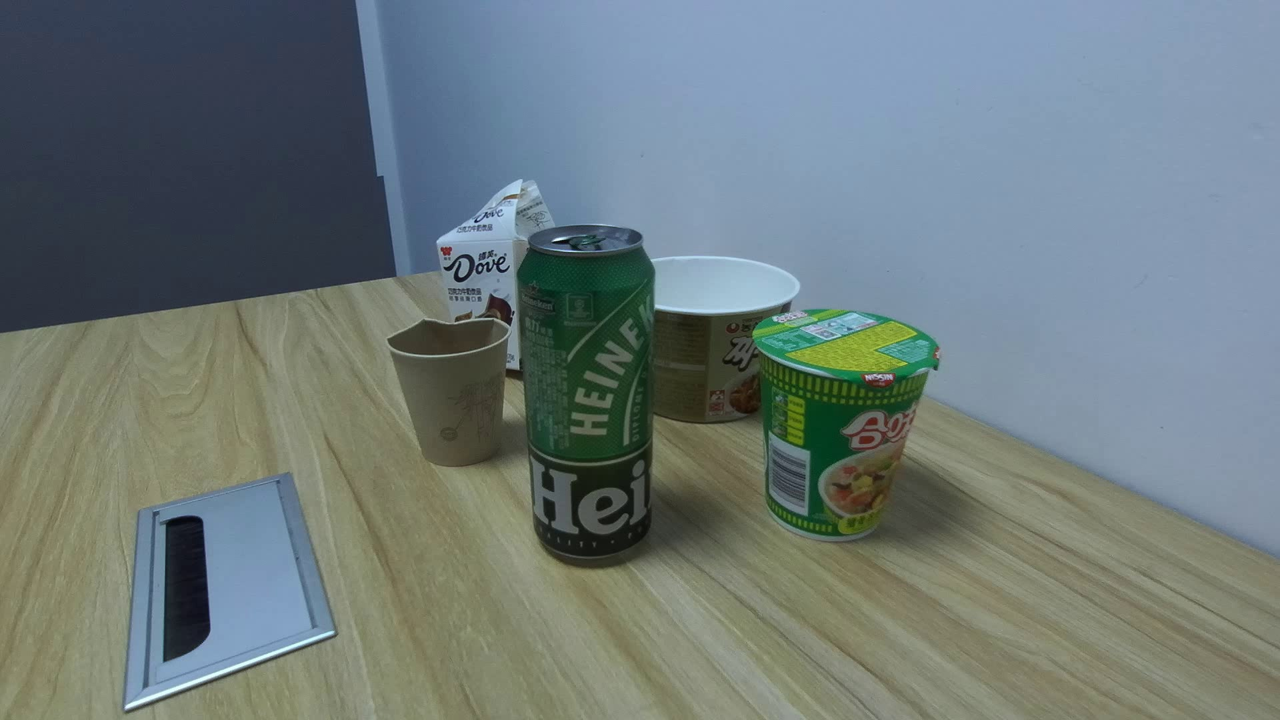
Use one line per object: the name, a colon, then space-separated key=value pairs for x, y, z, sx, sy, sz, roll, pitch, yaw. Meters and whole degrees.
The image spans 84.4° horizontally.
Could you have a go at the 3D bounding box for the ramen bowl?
ramen bowl: x=0.051 y=-0.017 z=0.545 sx=0.140 sy=0.095 sz=0.140 roll=0 pitch=24 yaw=0

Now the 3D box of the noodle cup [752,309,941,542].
noodle cup: x=0.108 y=0.038 z=0.398 sx=0.097 sy=0.110 sz=0.097 roll=1 pitch=24 yaw=0

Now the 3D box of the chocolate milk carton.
chocolate milk carton: x=-0.111 y=-0.071 z=0.608 sx=0.089 sy=0.155 sz=0.077 roll=0 pitch=18 yaw=34

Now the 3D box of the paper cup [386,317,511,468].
paper cup: x=-0.120 y=0.021 z=0.468 sx=0.068 sy=0.081 sz=0.073 roll=12 pitch=27 yaw=26

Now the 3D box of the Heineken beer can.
Heineken beer can: x=-0.026 y=0.020 z=0.367 sx=0.067 sy=0.169 sz=0.067 roll=0 pitch=24 yaw=0
